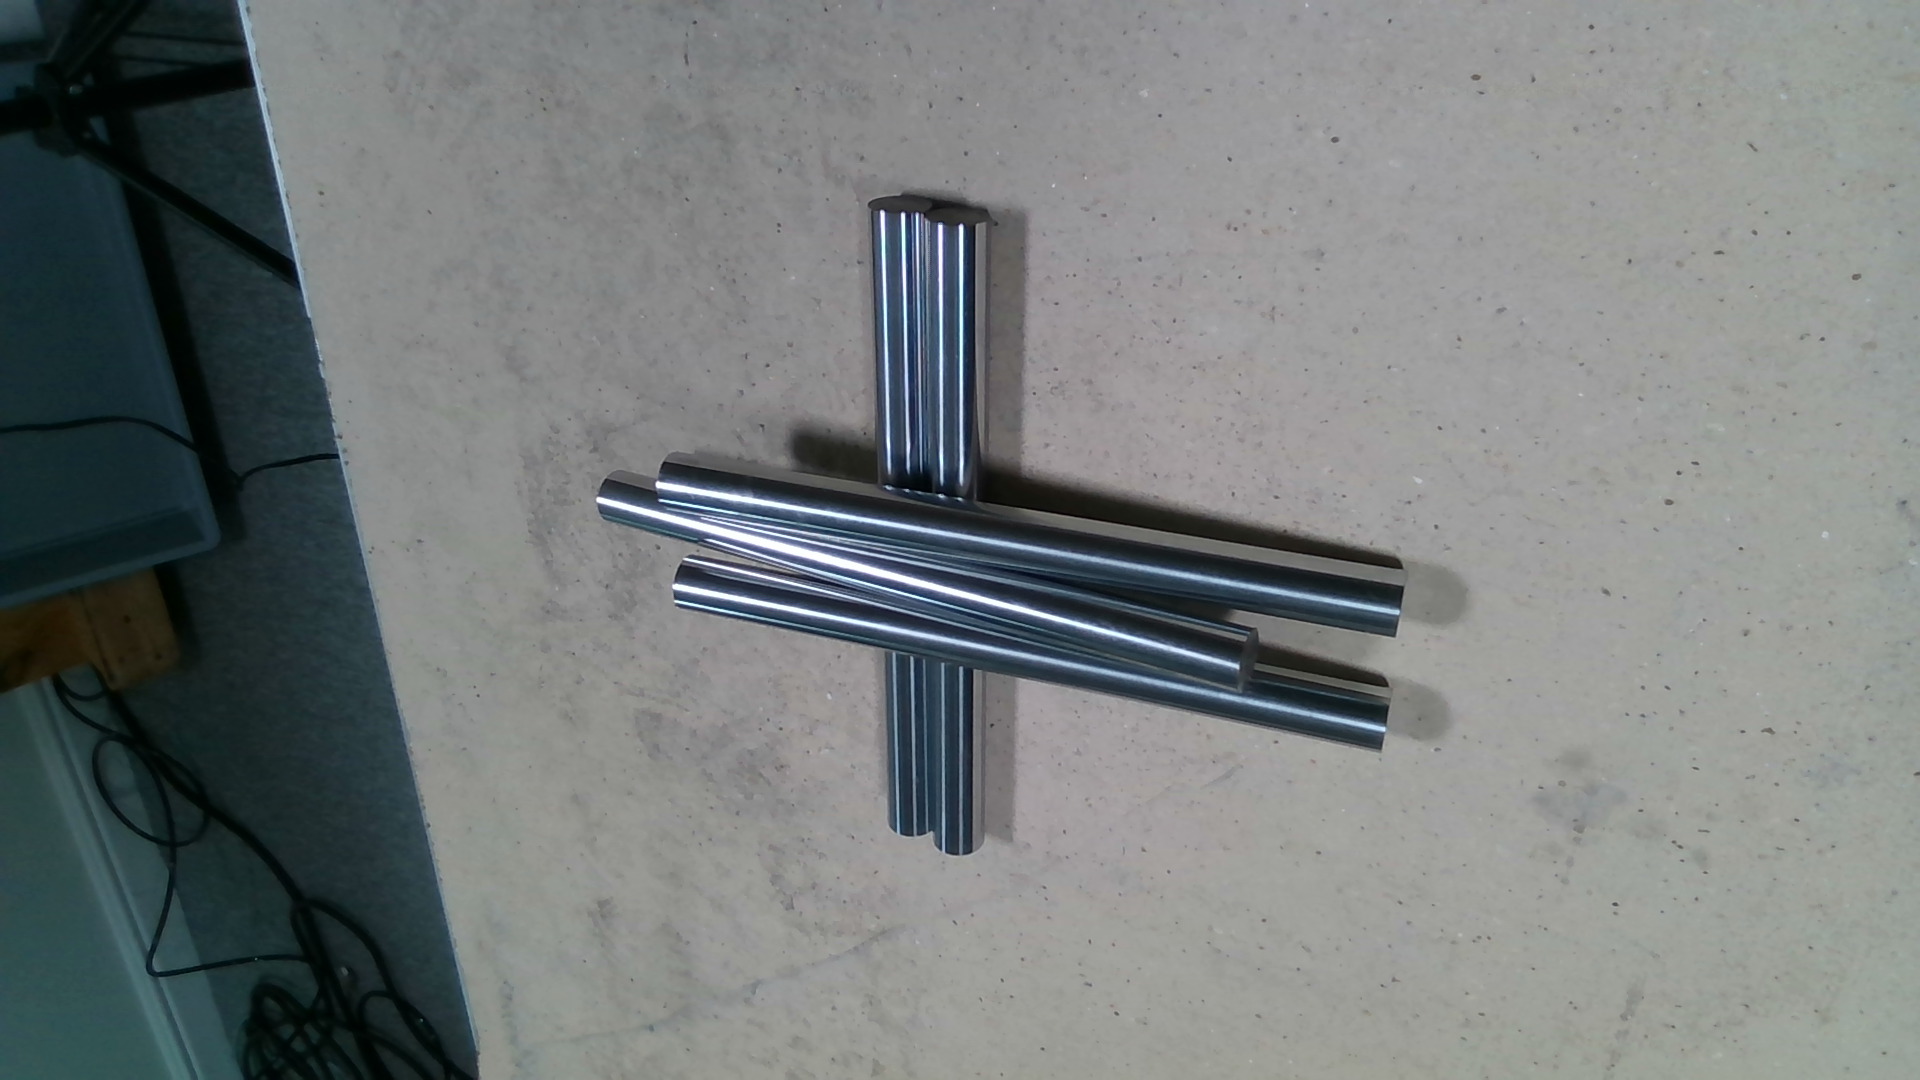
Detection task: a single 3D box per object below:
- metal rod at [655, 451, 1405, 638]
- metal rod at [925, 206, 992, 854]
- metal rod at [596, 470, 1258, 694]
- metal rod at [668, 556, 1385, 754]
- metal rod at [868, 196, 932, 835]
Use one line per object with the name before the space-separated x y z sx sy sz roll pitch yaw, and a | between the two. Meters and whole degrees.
metal rod | 0.017 -0.001 0.542 0.300 0.025 0.025 10 120 18
metal rod | -0.001 0.010 0.587 0.025 0.025 0.301 15 122 25
metal rod | -0.026 0.013 0.570 0.300 0.025 0.025 14 122 25
metal rod | 0.018 0.044 0.565 0.300 0.025 0.025 10 120 18
metal rod | -0.023 0.003 0.597 0.025 0.025 0.301 15 122 25
